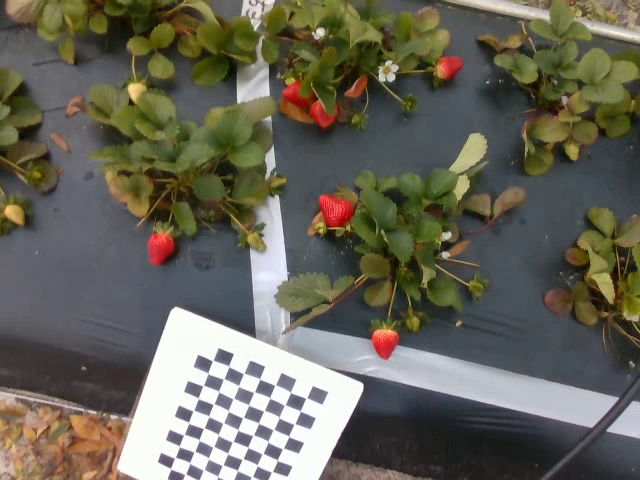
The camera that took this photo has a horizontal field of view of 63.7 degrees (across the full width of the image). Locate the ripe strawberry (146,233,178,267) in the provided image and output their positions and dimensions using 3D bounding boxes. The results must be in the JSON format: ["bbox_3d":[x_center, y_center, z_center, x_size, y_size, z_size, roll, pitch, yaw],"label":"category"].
[{"bbox_3d":[-0.198,0.011,0.630,0.036,0.046,0.040,12,-27,15],"label":"ripe strawberry"}]

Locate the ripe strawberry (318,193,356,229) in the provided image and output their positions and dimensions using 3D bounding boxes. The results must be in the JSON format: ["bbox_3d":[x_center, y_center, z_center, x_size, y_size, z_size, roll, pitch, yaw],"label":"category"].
[{"bbox_3d":[0.019,-0.043,0.673,0.043,0.062,0.043,-47,-2,24],"label":"ripe strawberry"}]

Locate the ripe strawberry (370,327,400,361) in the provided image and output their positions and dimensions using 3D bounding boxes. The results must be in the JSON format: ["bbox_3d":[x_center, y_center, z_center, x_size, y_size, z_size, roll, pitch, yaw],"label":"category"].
[{"bbox_3d":[0.083,0.135,0.659,0.039,0.047,0.041,-9,8,21],"label":"ripe strawberry"}]
